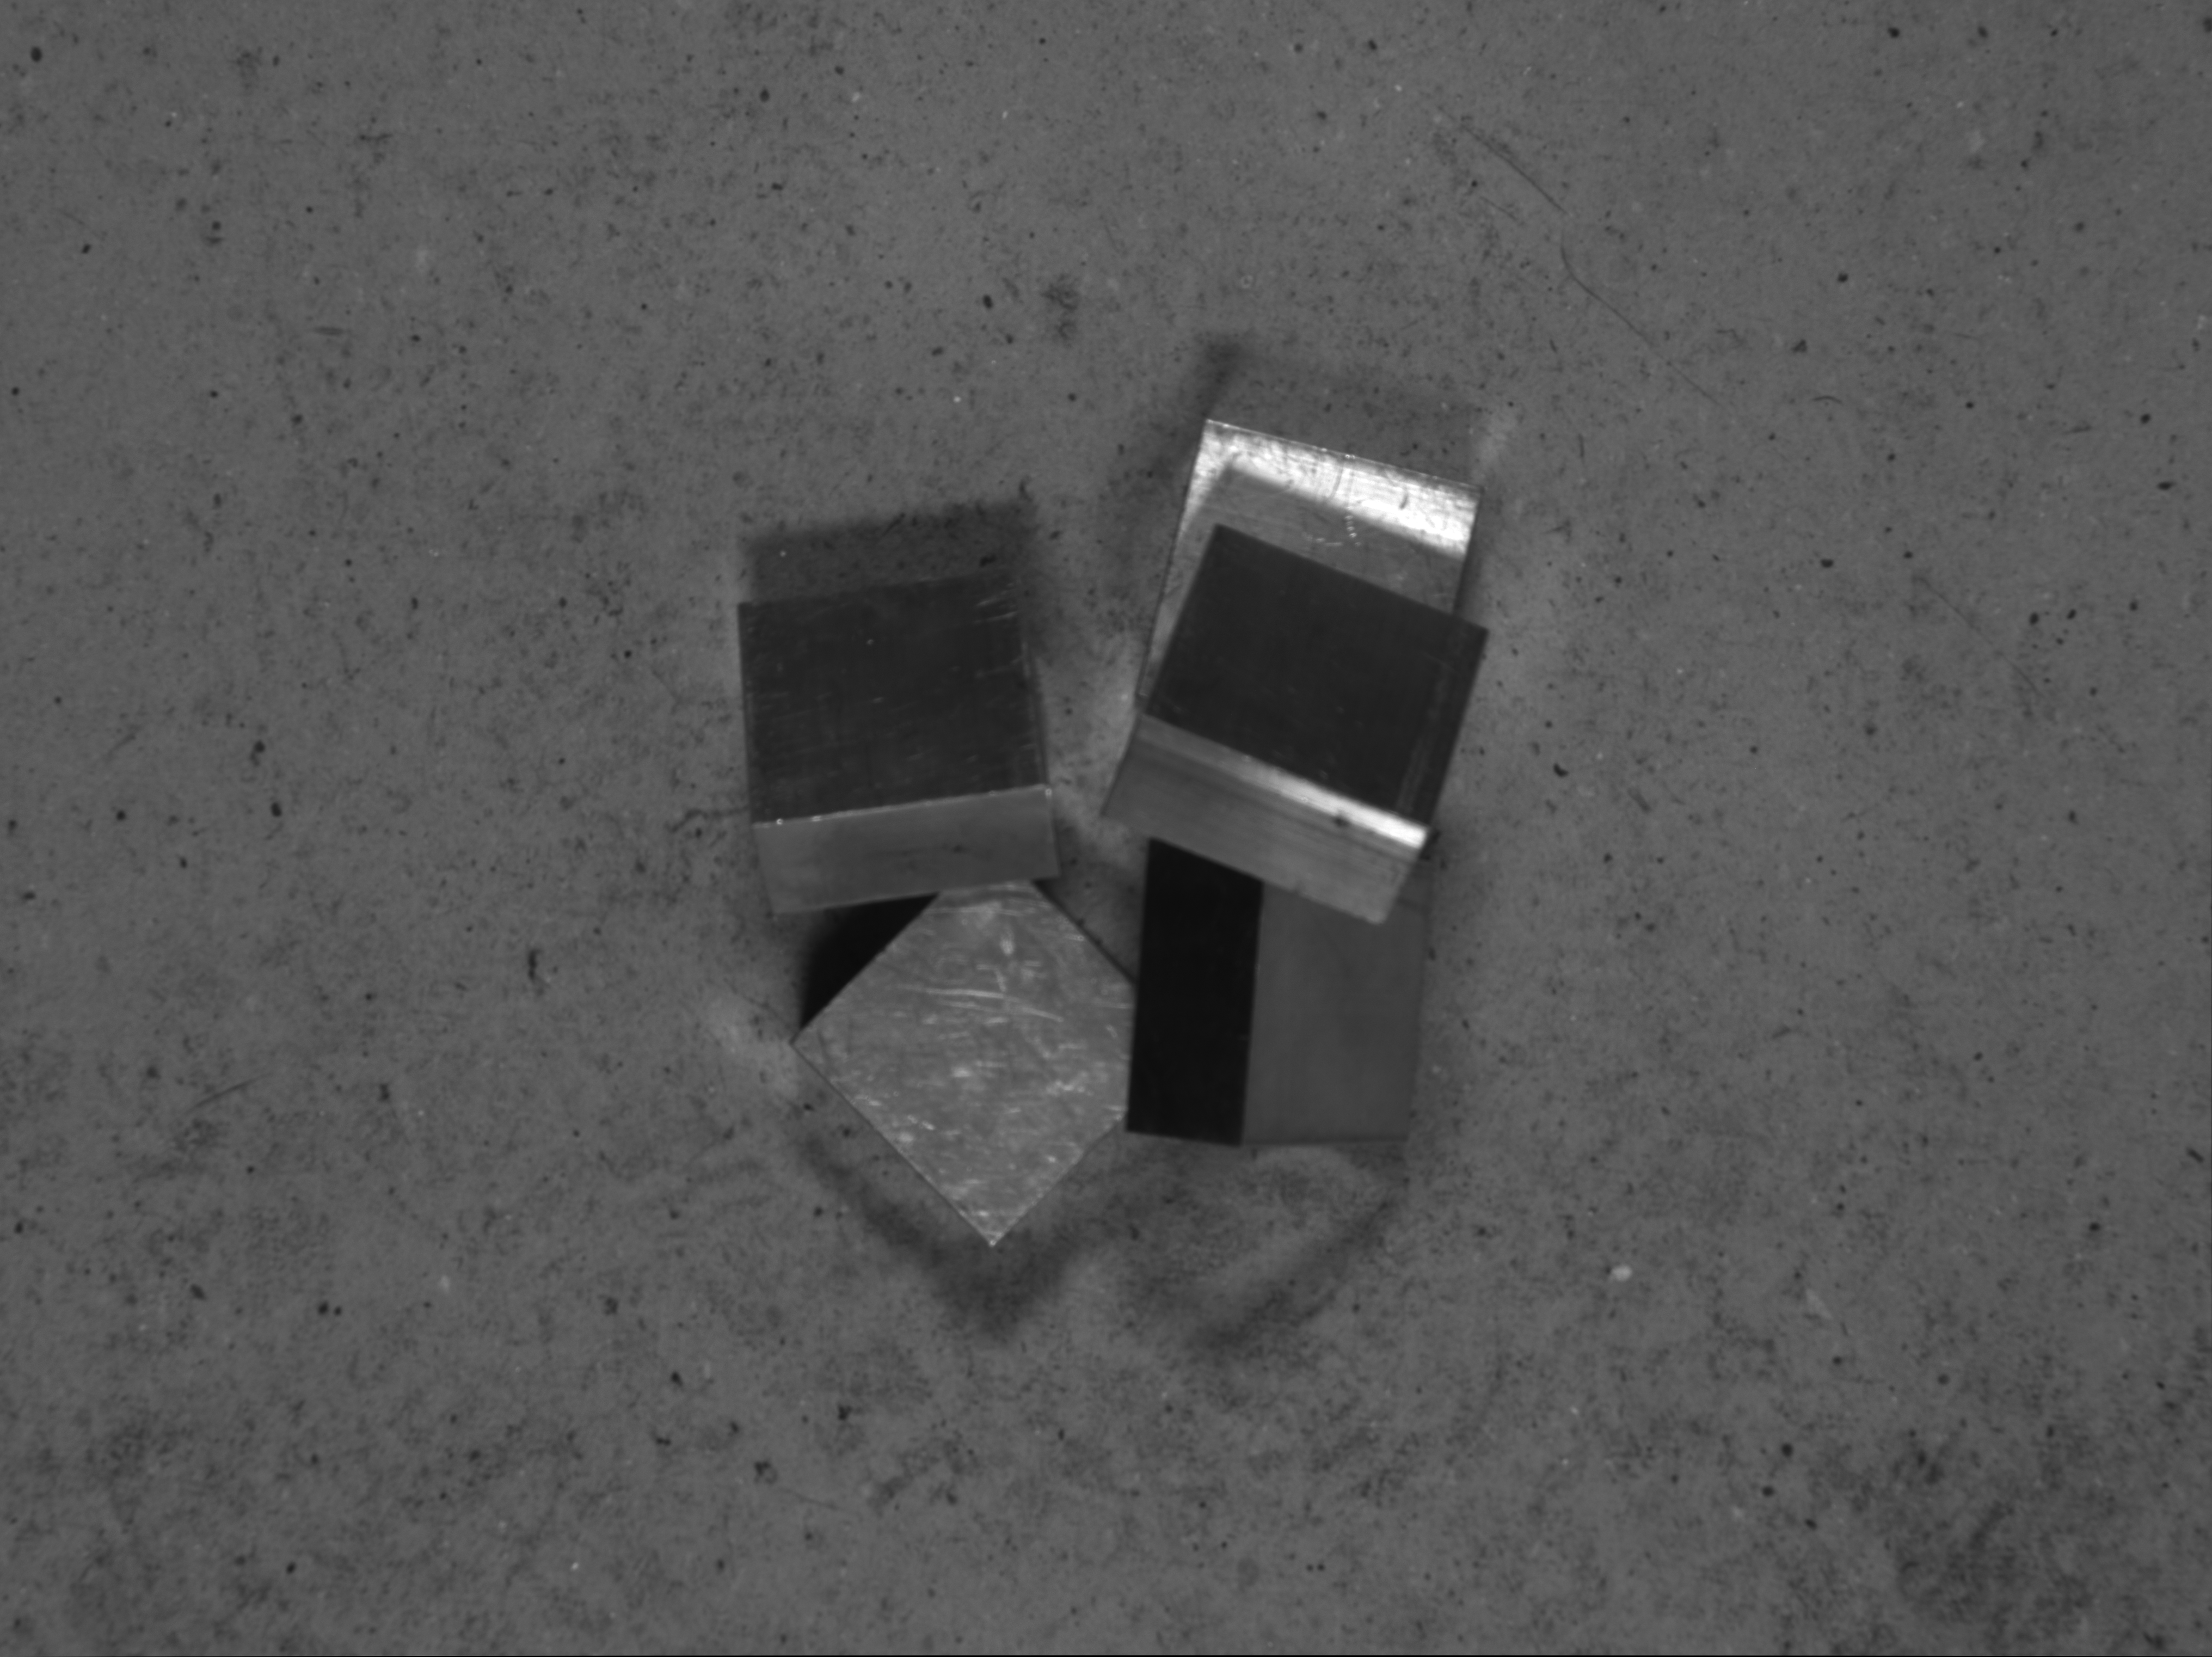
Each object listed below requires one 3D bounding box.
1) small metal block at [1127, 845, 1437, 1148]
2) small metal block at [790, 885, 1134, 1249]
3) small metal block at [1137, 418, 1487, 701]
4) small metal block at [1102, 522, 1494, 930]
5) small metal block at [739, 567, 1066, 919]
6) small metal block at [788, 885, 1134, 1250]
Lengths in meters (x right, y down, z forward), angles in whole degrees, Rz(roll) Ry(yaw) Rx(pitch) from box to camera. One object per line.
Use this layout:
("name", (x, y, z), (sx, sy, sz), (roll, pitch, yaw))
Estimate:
("small metal block", (0.031, 0.029, 0.631), (0.025, 0.050, 0.050), (4, 89, 38))
("small metal block", (-0.019, 0.037, 0.645), (0.050, 0.025, 0.050), (-45, 90, 0))
("small metal block", (0.036, -0.041, 0.646), (0.050, 0.025, 0.050), (14, 90, 0))
("small metal block", (0.032, -0.017, 0.607), (0.050, 0.025, 0.050), (22, 46, -1))
("small metal block", (-0.035, -0.015, 0.632), (0.050, 0.025, 0.050), (-8, 52, -1))
("small metal block", (-0.020, 0.037, 0.645), (0.050, 0.025, 0.050), (-45, 90, 0))
